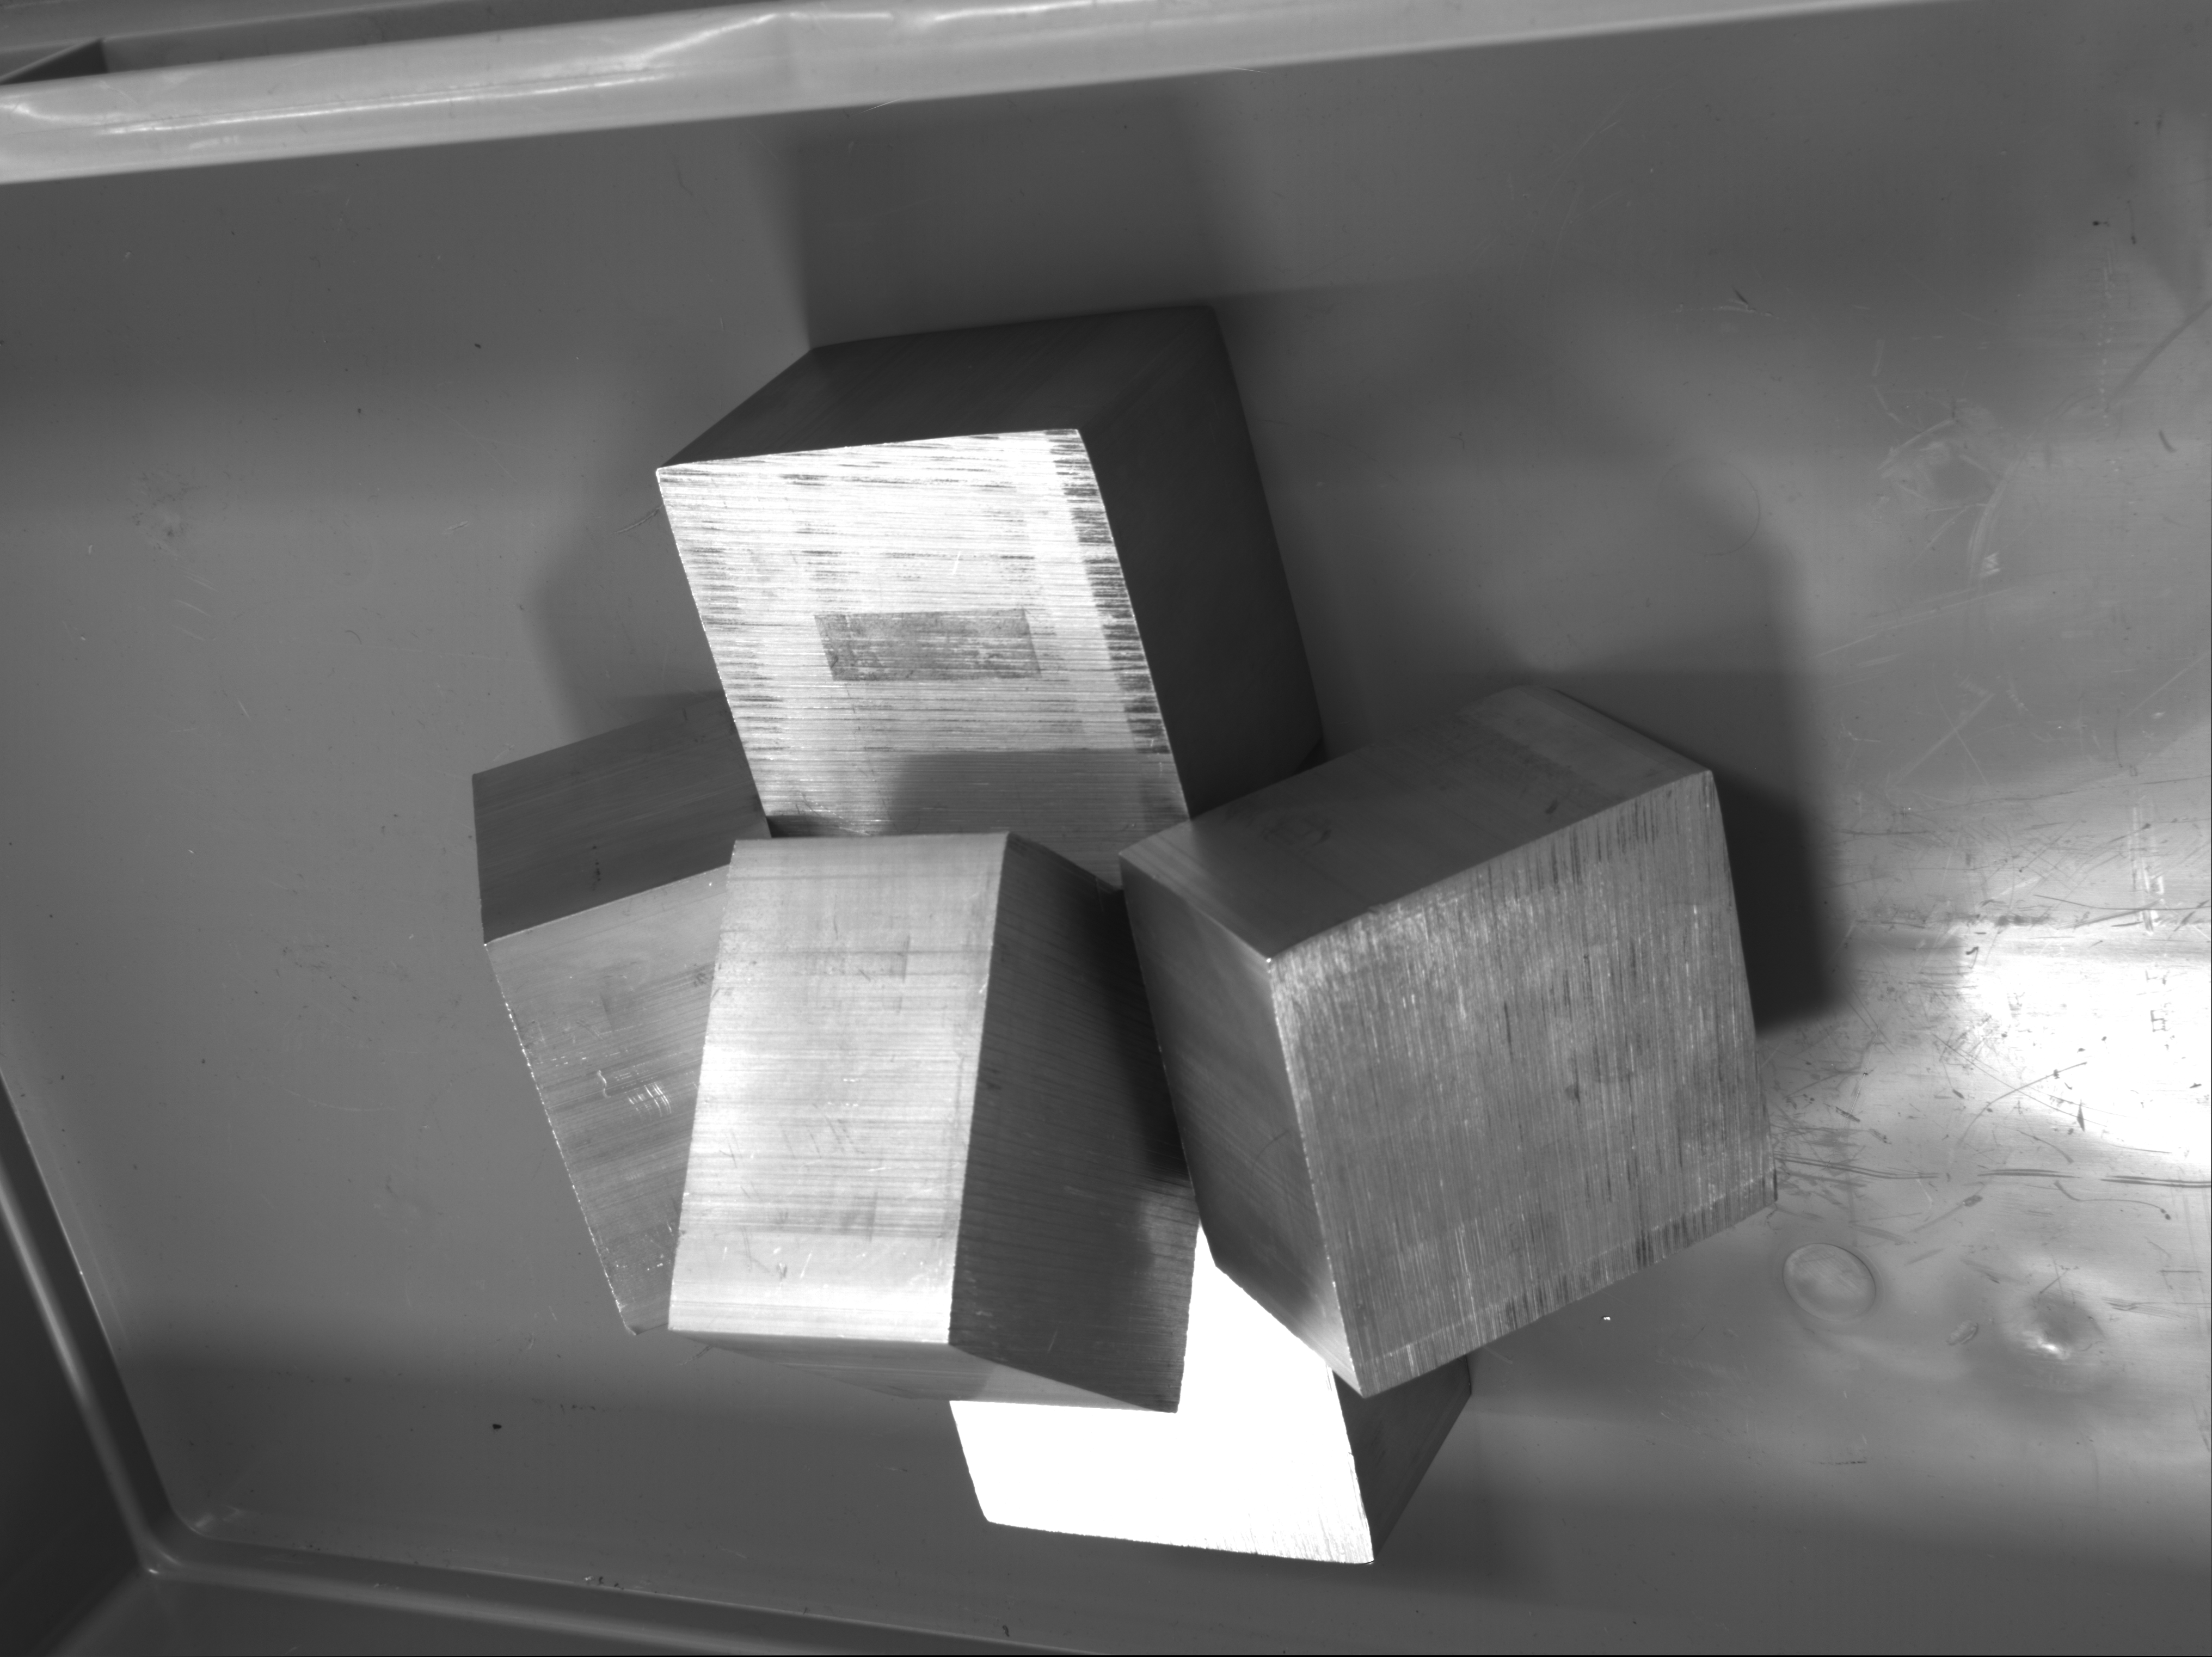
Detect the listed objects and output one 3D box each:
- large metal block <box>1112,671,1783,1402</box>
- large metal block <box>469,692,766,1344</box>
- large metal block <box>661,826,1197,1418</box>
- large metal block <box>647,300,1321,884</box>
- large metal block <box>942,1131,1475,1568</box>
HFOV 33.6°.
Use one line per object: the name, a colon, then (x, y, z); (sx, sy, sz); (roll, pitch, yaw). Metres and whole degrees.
large metal block: (0.055, 0.032, 0.586); (0.050, 0.080, 0.080); (36, 144, 58)
large metal block: (-0.076, 0.032, 0.656); (0.050, 0.080, 0.080); (-18, 114, -4)
large metal block: (-0.024, 0.049, 0.597); (0.050, 0.080, 0.080); (-1, 74, 28)
large metal block: (-0.019, -0.037, 0.609); (0.080, 0.050, 0.080); (-2, 117, 29)
large metal block: (0.015, 0.083, 0.668); (0.080, 0.050, 0.080); (1, 119, 28)
